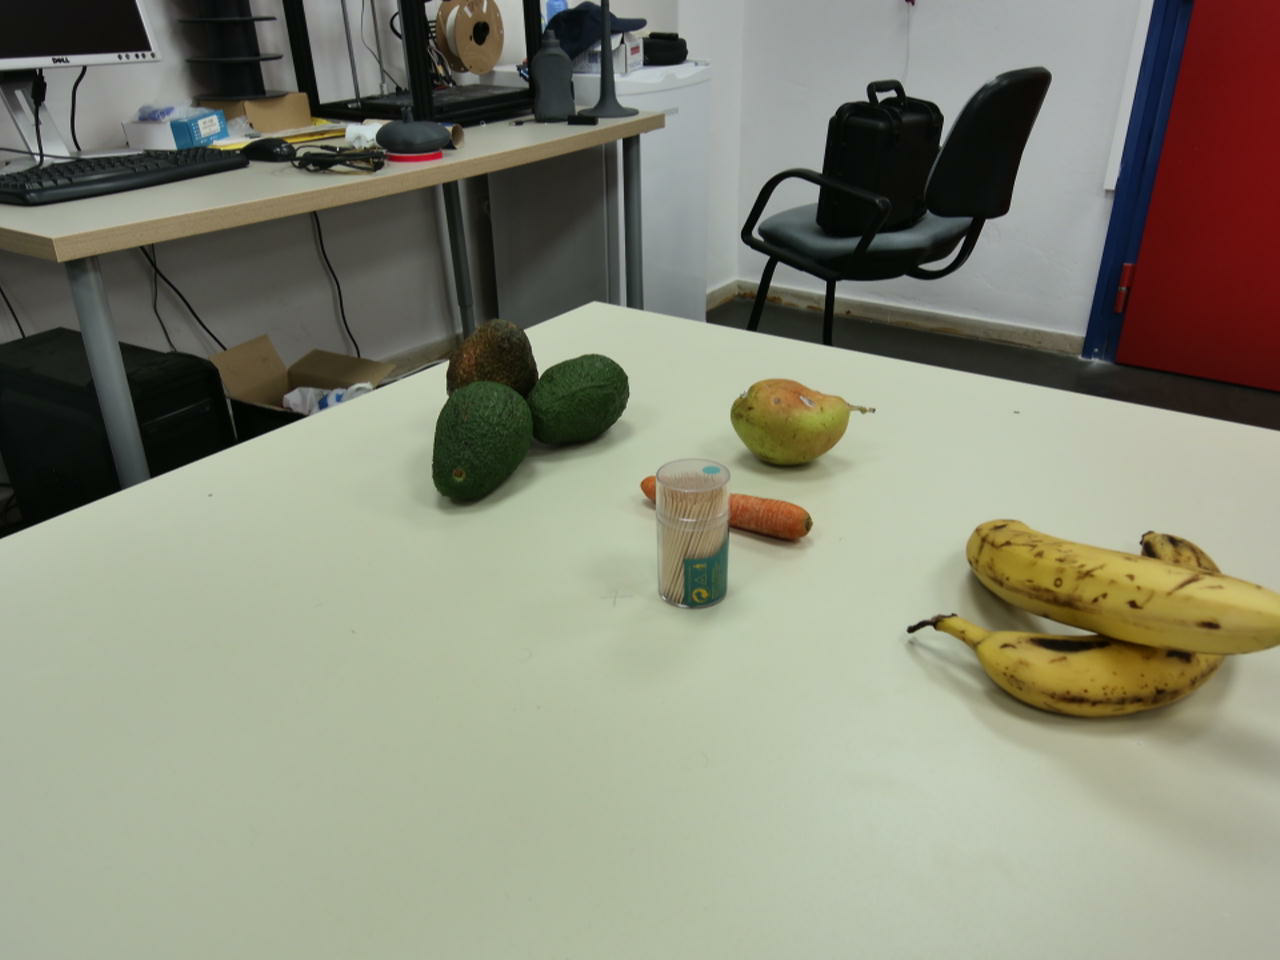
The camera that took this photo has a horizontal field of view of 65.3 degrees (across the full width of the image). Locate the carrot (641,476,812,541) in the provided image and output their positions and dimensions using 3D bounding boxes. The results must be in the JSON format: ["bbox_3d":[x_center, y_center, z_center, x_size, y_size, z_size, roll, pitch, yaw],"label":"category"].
[{"bbox_3d":[0.053,0.016,0.640,0.122,0.023,0.024,15,29,29],"label":"carrot"}]
